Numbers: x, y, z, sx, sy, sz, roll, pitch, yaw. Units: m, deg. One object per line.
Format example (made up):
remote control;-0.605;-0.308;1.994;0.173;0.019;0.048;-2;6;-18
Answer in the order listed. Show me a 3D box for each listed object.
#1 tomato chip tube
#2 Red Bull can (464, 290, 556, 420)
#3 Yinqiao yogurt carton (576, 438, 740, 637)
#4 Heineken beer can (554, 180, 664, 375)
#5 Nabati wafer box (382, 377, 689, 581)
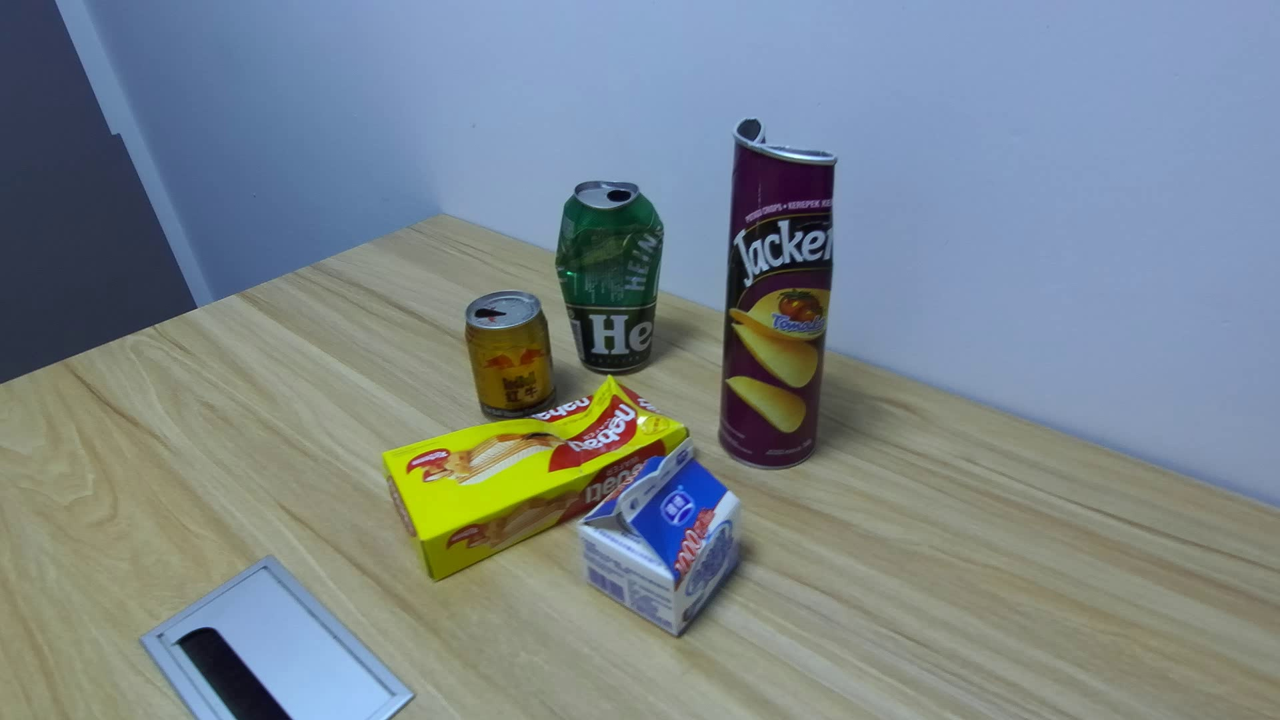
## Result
tomato chip tube;0.096;-0.037;0.487;0.076;0.235;0.078;10;35;19
Red Bull can;-0.106;-0.002;0.582;0.067;0.093;0.067;-2;33;2
Yinqiao yogurt carton;0.013;0.096;0.424;0.073;0.092;0.076;21;40;32
Heineken beer can;-0.027;-0.068;0.606;0.077;0.164;0.066;28;45;34
Nabati wafer box;-0.072;0.071;0.517;0.205;0.042;0.106;-20;38;-25
